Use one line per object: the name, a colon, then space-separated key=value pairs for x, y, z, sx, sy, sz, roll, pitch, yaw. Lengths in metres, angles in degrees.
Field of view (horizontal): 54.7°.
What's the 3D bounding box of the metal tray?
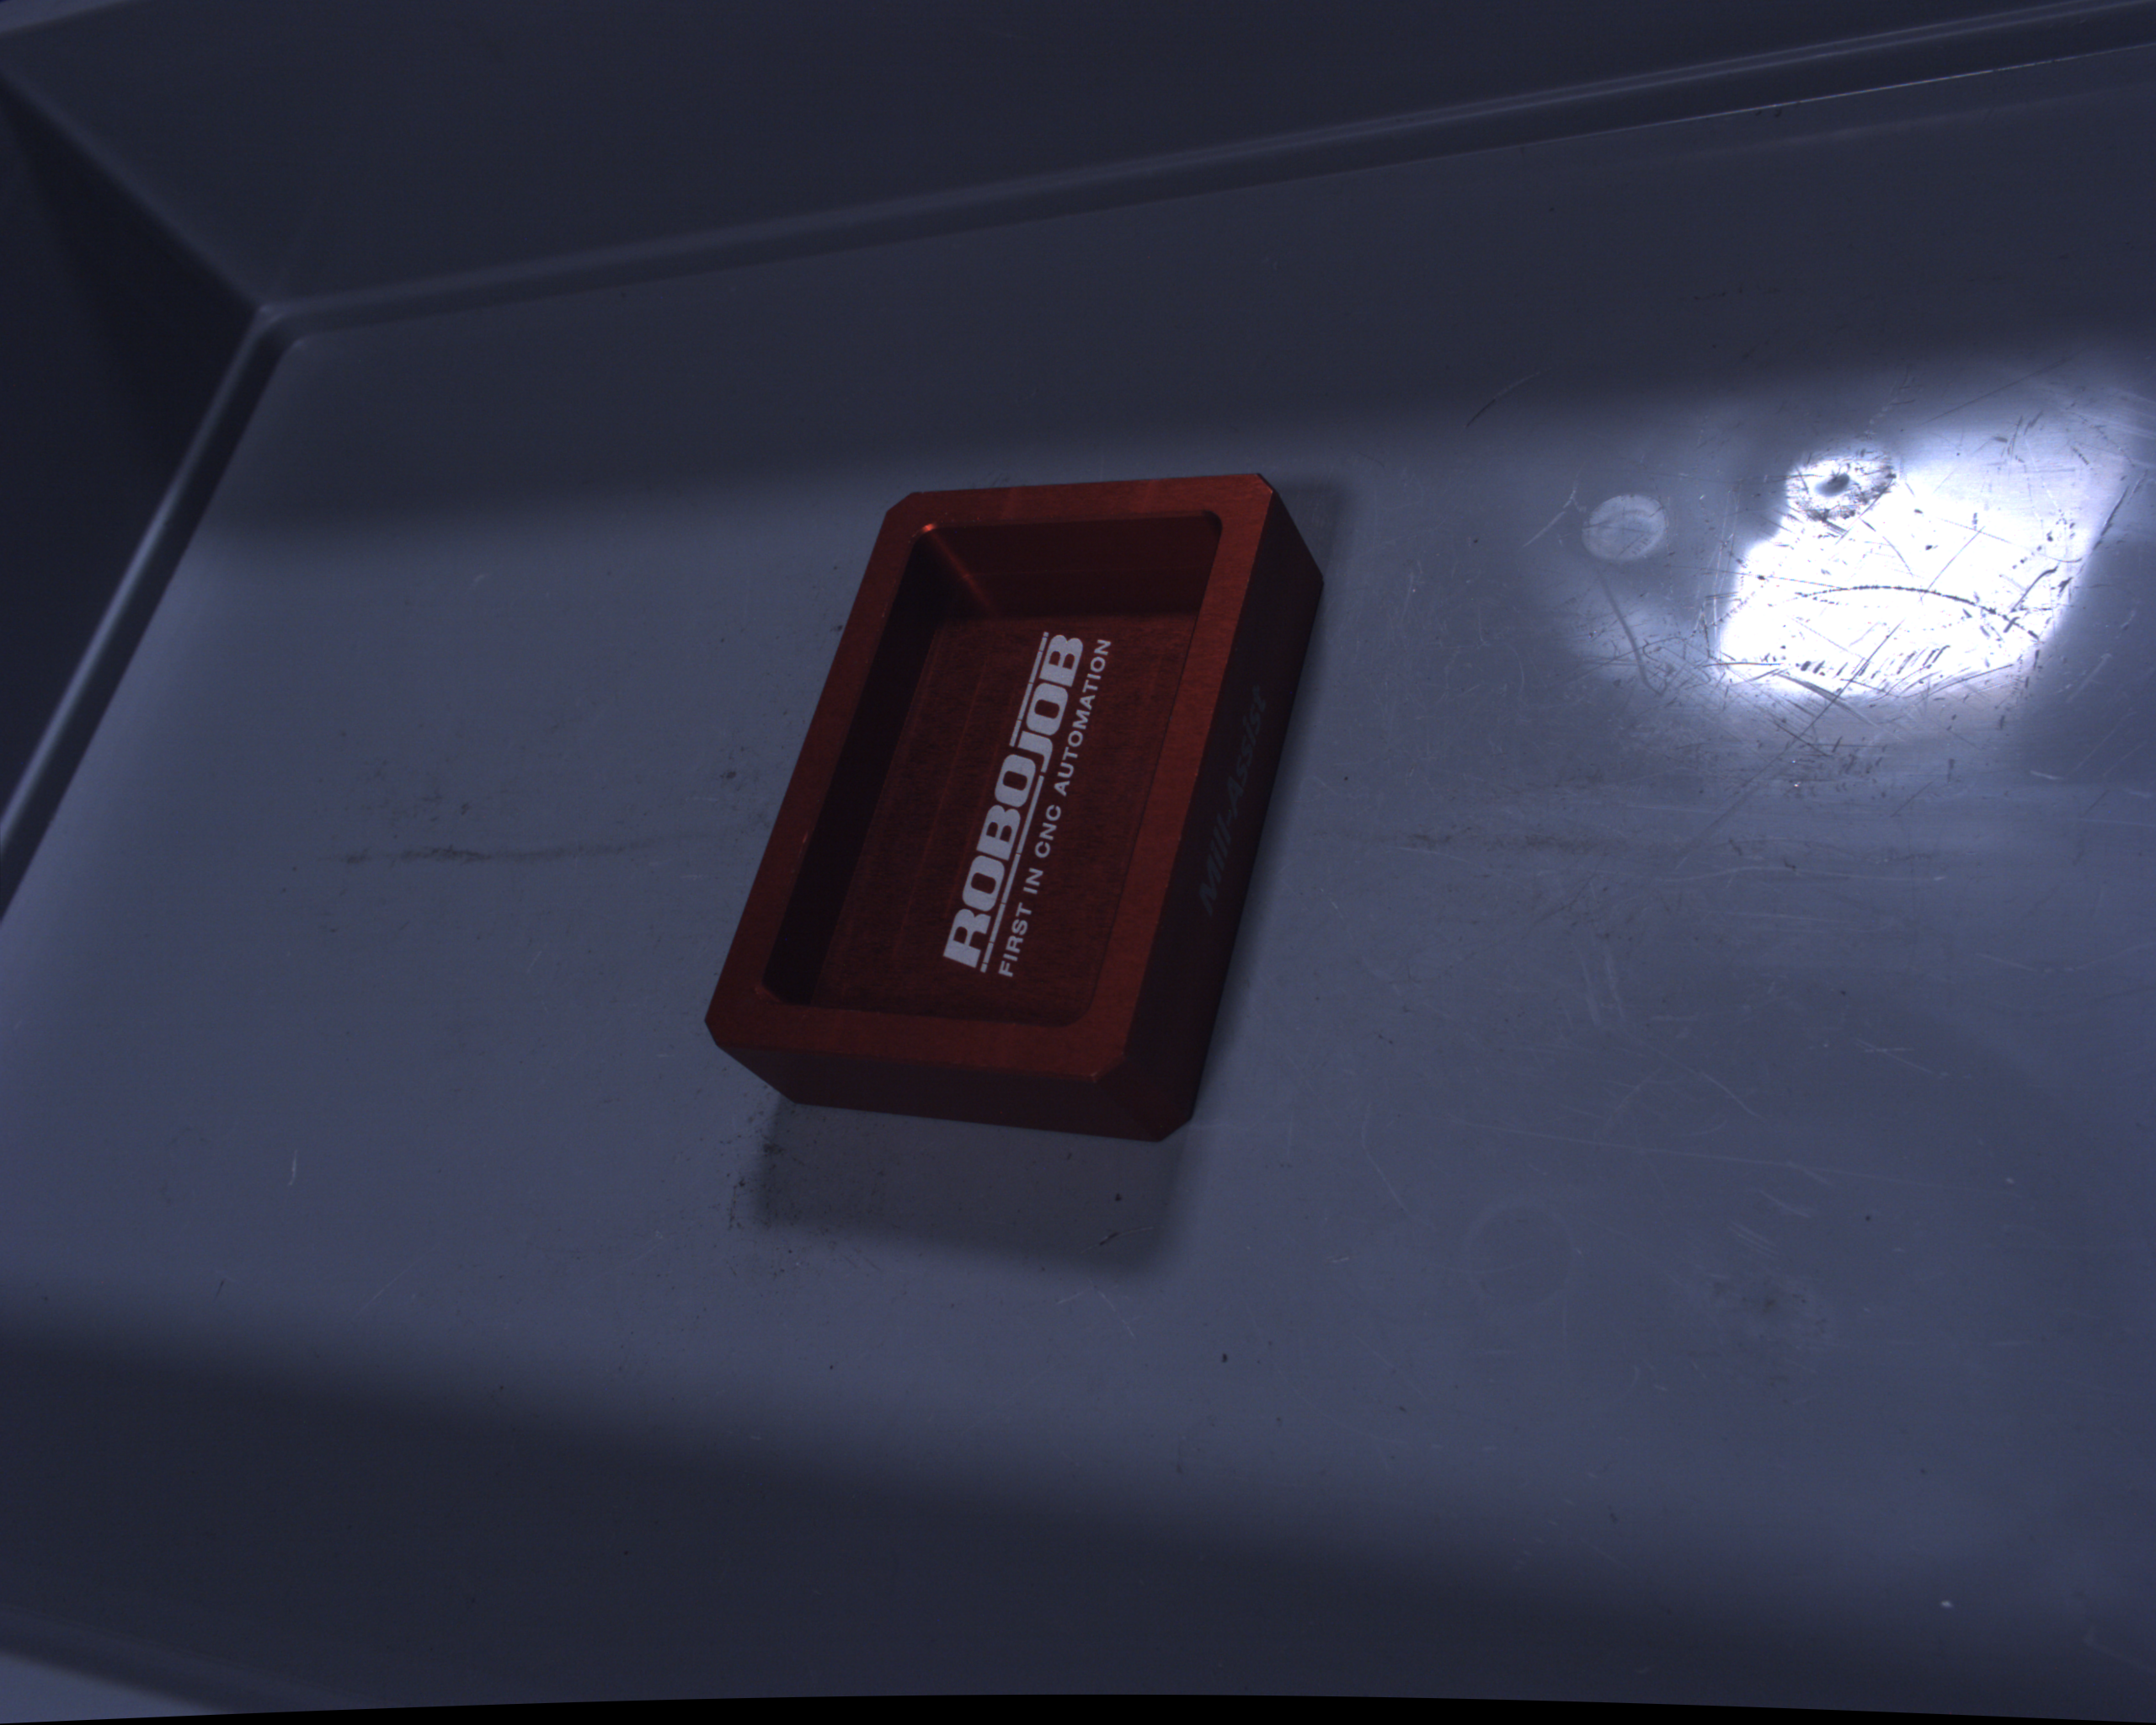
metal tray: x=-0.011 y=-0.014 z=0.412 sx=0.090 sy=0.030 sz=0.130 roll=2 pitch=62 yaw=28
